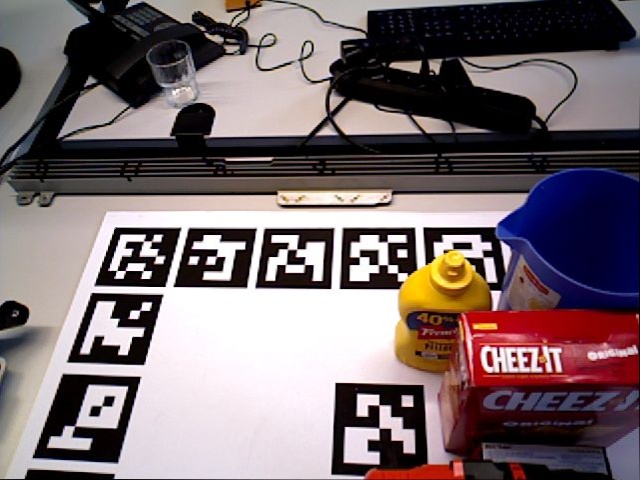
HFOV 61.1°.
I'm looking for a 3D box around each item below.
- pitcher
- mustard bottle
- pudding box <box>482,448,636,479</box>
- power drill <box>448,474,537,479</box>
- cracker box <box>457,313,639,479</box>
[{"bbox_3d":[0.266,0.062,0.514,0.189,0.247,0.131,5,55,12],"label":"pitcher"},{"bbox_3d":[0.134,0.068,0.540,0.096,0.195,0.057,12,57,14],"label":"mustard bottle"},{"bbox_3d":[0.206,0.218,0.484,0.114,0.091,0.038,0,52,10],"label":"pudding box"},{"bbox_3d":[0.135,0.225,0.401,0.184,0.190,0.056,0,51,5],"label":"power drill"},{"bbox_3d":[0.213,0.146,0.467,0.164,0.217,0.071,-2,52,7],"label":"cracker box"}]
